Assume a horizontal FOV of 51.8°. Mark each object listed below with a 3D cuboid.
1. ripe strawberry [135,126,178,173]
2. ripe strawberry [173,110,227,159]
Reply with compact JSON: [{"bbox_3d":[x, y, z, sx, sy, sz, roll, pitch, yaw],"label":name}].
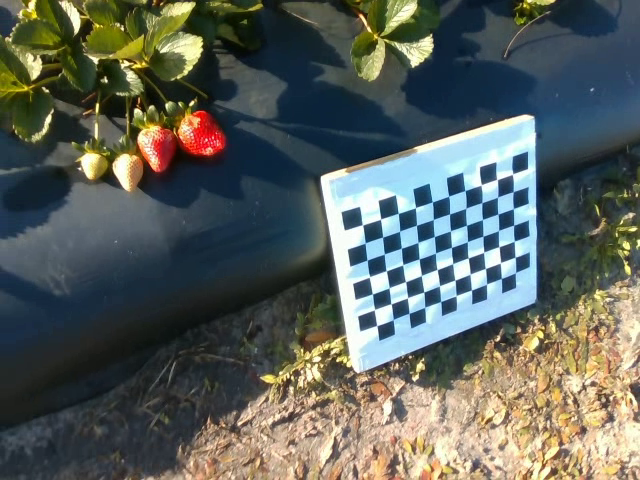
[{"bbox_3d":[-0.173,-0.096,0.692,0.050,0.061,0.043,5,-27,-28],"label":"ripe strawberry"},{"bbox_3d":[-0.123,-0.112,0.702,0.067,0.057,0.051,31,9,23],"label":"ripe strawberry"}]
